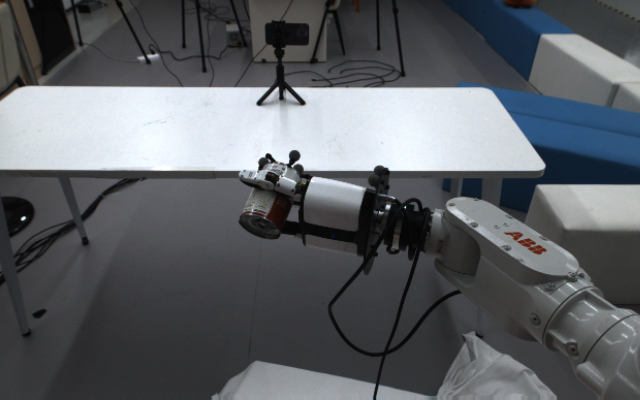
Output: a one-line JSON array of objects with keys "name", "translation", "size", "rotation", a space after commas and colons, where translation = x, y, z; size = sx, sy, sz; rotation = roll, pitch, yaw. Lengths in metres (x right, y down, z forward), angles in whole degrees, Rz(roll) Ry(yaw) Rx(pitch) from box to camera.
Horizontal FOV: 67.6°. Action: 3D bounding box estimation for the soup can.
[{"name": "soup can", "translation": [-0.075, 0.000, 0.742], "size": [0.067, 0.067, 0.101], "rotation": [12, 59, 14]}]
